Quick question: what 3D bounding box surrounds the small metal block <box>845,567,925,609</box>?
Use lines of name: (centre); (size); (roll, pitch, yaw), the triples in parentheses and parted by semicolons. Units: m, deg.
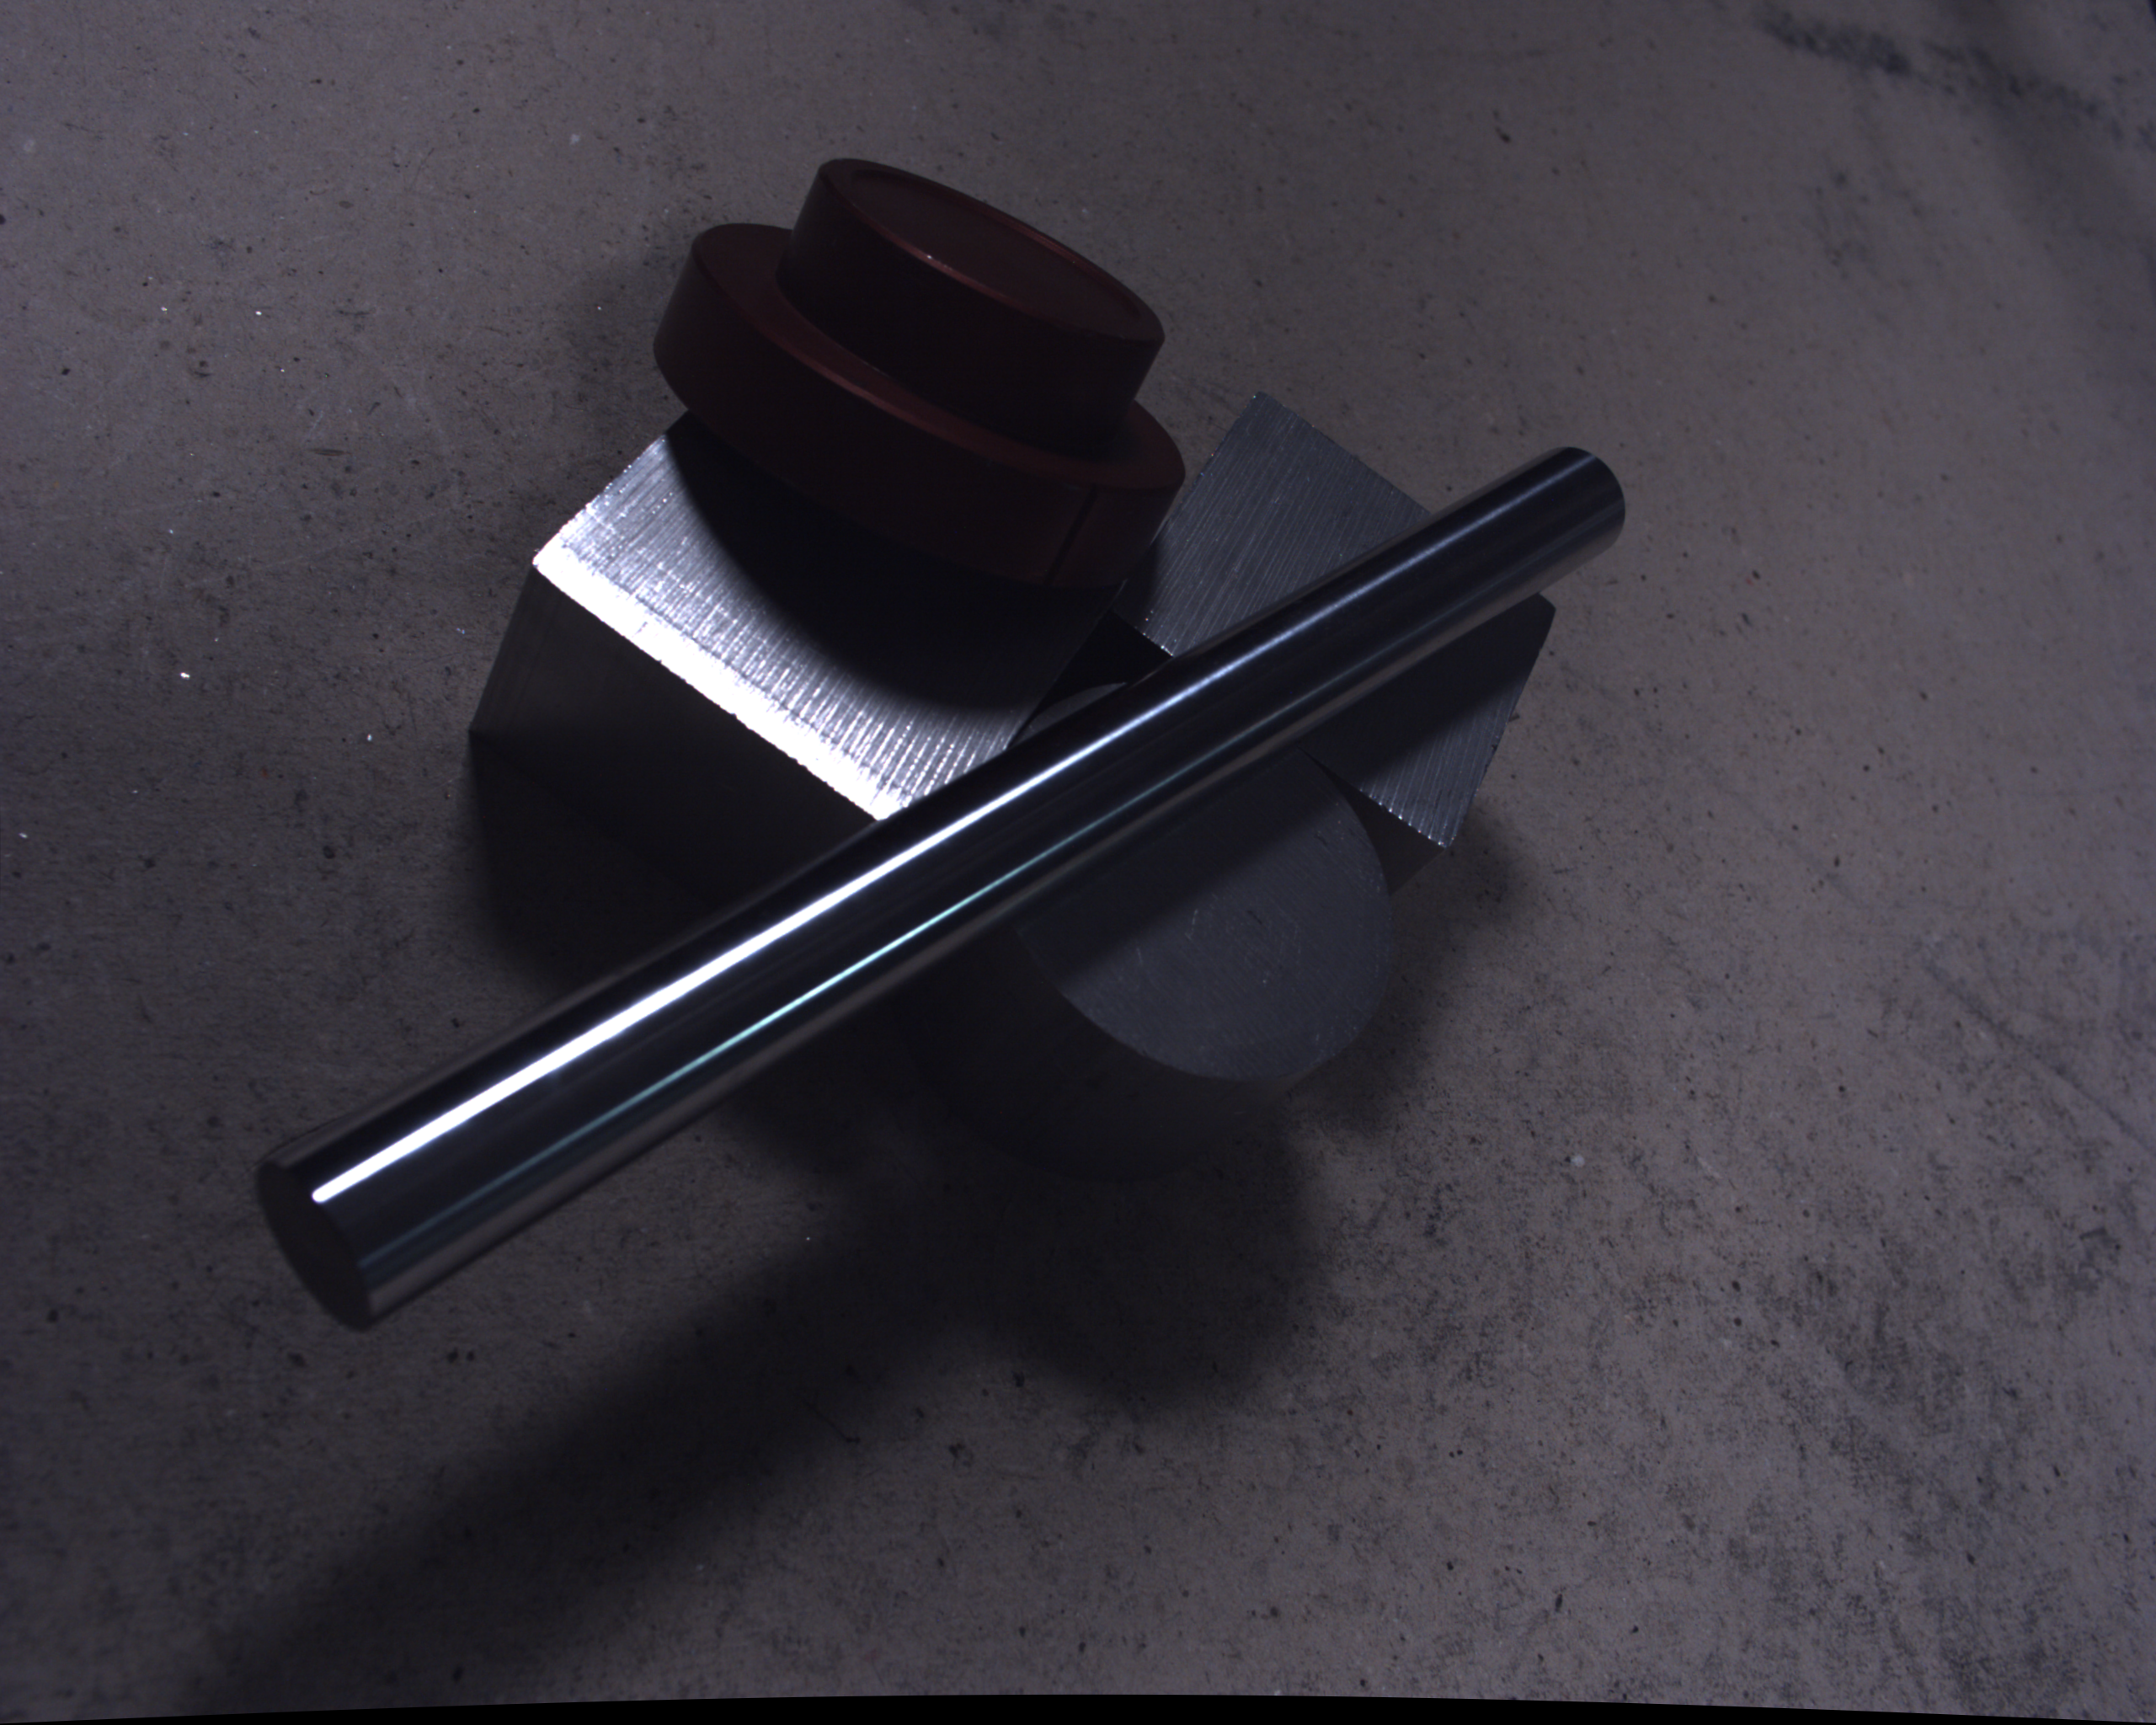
small metal block: (-0.018, -0.068, 0.438); (0.050, 0.025, 0.050); (37, 51, -4)

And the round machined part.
round machined part: (-0.024, -0.094, 0.383); (0.099, 0.042, 0.098); (24, 25, -12)

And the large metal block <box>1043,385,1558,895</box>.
large metal block: (0.043, -0.040, 0.439); (0.080, 0.050, 0.080); (36, 51, -5)

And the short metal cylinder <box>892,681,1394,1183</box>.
short metal cylinder: (0.011, 0.013, 0.388); (0.081, 0.050, 0.080); (14, 56, -21)

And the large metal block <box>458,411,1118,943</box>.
large metal block: (-0.052, -0.039, 0.385); (0.080, 0.050, 0.080); (36, 51, -4)

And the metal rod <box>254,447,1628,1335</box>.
metal rod: (0.005, -0.014, 0.354); (0.302, 0.025, 0.025); (-32, 80, -38)
